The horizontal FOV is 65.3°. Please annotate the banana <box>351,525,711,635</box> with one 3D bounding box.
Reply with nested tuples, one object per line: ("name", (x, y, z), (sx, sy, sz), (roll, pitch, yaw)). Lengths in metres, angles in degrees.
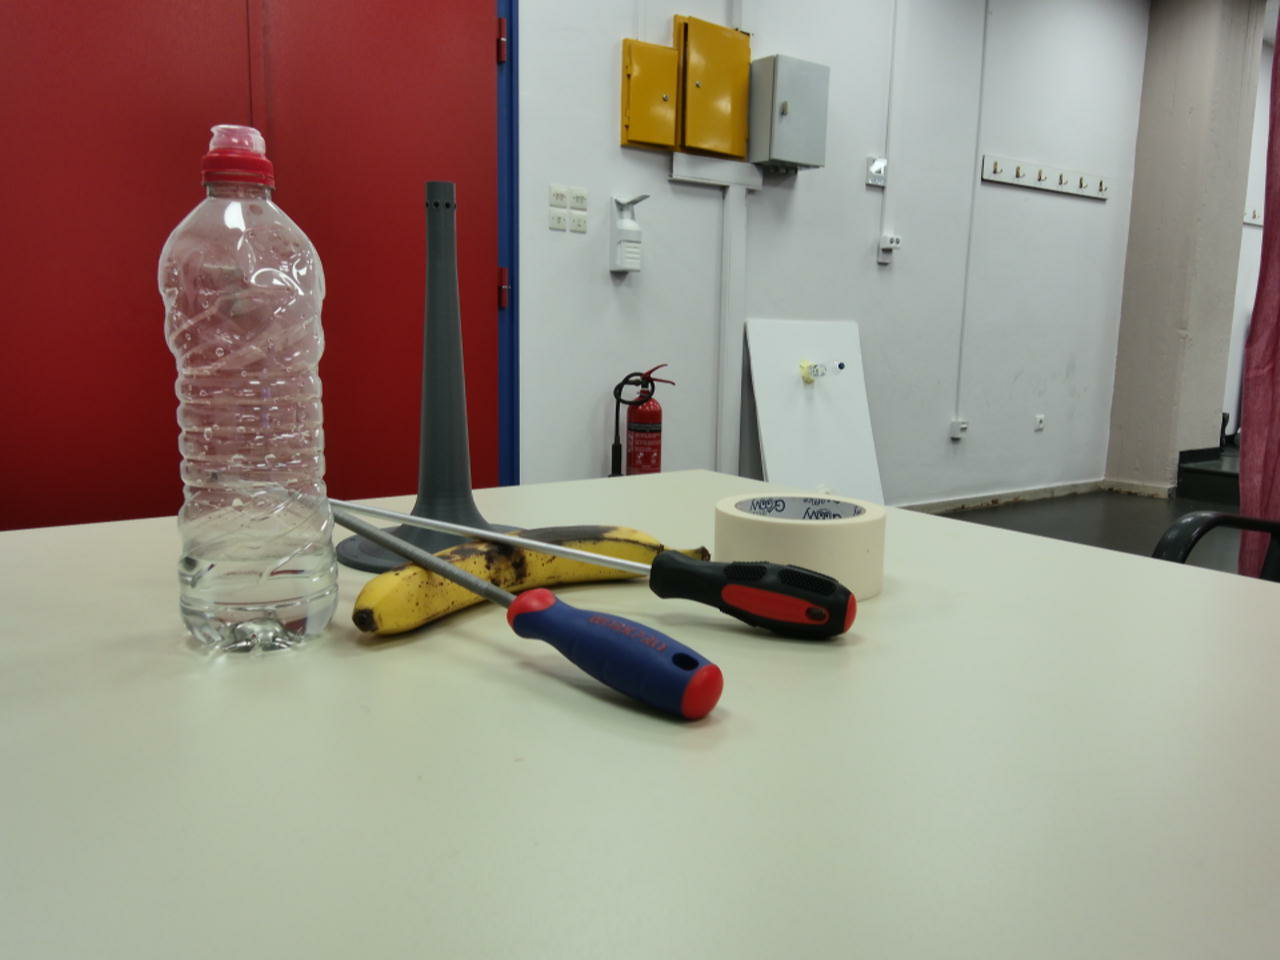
("banana", (-0.068, 0.053, 0.577), (0.222, 0.037, 0.084), (-5, 9, -36))
